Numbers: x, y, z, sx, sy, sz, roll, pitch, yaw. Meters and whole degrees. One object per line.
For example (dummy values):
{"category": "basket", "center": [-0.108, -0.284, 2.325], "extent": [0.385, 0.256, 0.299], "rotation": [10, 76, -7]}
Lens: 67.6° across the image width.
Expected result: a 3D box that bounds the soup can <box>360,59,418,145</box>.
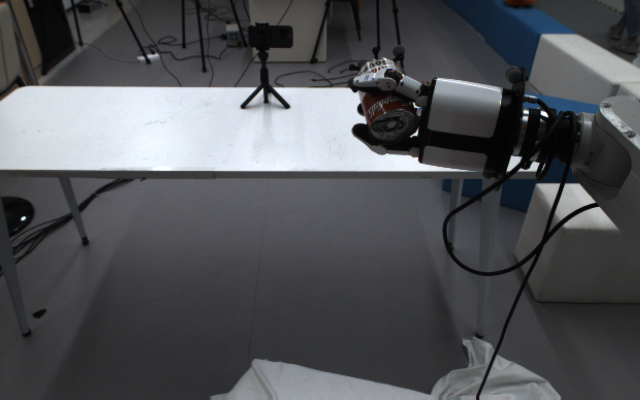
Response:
{"category": "soup can", "center": [0.091, -0.136, 0.665], "extent": [0.067, 0.067, 0.101], "rotation": [-5, 57, -10]}
